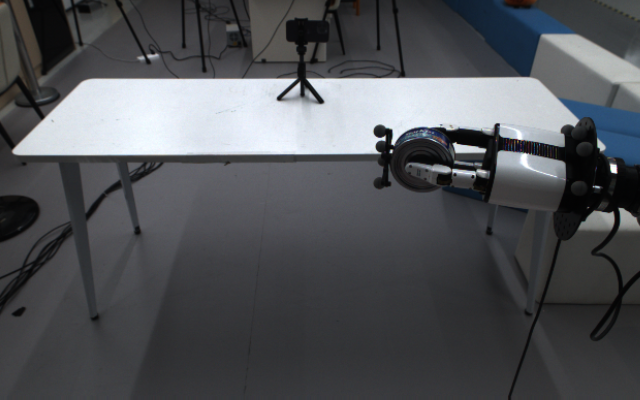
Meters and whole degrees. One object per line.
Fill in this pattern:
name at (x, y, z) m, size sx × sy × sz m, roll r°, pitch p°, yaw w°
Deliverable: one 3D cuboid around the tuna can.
tuna can at (0.141, -0.058, 0.661) m, size 0.085 × 0.085 × 0.034 m, roll 9°, pitch 32°, yaw 10°
